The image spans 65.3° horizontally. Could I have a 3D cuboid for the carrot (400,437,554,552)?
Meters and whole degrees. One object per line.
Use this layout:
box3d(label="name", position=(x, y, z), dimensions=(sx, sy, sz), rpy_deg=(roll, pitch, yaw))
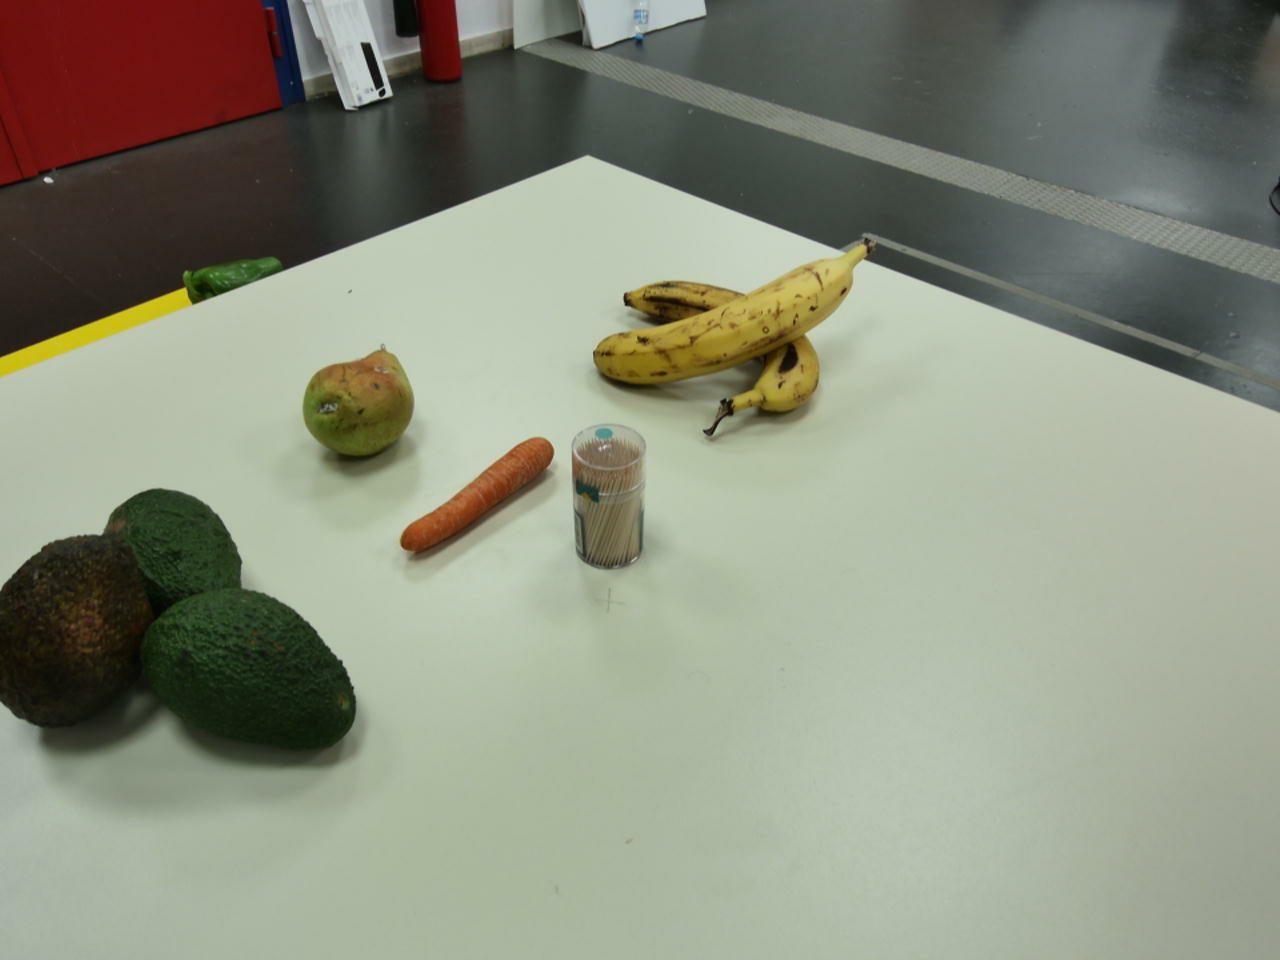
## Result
box3d(label="carrot", position=(-0.096, 0.007, 0.599), dimensions=(0.024, 0.023, 0.122), rpy_deg=(27, 44, 29))
